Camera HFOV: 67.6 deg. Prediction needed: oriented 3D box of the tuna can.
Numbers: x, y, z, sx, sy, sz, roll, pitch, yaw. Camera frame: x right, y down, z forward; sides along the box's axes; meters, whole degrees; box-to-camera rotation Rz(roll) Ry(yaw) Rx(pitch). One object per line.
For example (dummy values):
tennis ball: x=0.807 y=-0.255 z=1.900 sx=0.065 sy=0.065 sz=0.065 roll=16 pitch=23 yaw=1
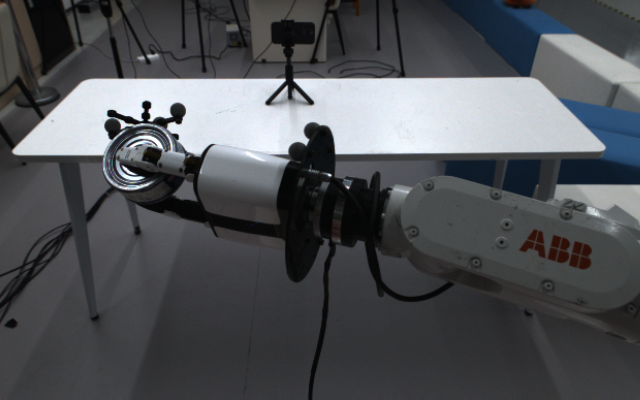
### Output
tuna can: x=-0.187 y=-0.034 z=0.529 sx=0.085 sy=0.034 sz=0.085 roll=-3 pitch=69 yaw=9
